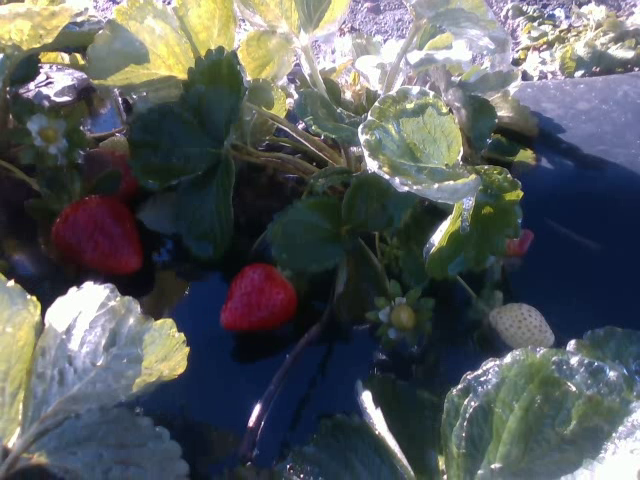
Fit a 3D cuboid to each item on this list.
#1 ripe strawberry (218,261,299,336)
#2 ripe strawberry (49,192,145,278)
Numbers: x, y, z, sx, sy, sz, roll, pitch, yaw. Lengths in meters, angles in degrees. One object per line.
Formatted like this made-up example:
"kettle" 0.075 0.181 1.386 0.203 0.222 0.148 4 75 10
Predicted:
"ripe strawberry" -0.031 0.031 0.288 0.039 0.047 0.040 36 -32 15
"ripe strawberry" -0.114 -0.001 0.318 0.044 0.056 0.040 -38 -19 -17
